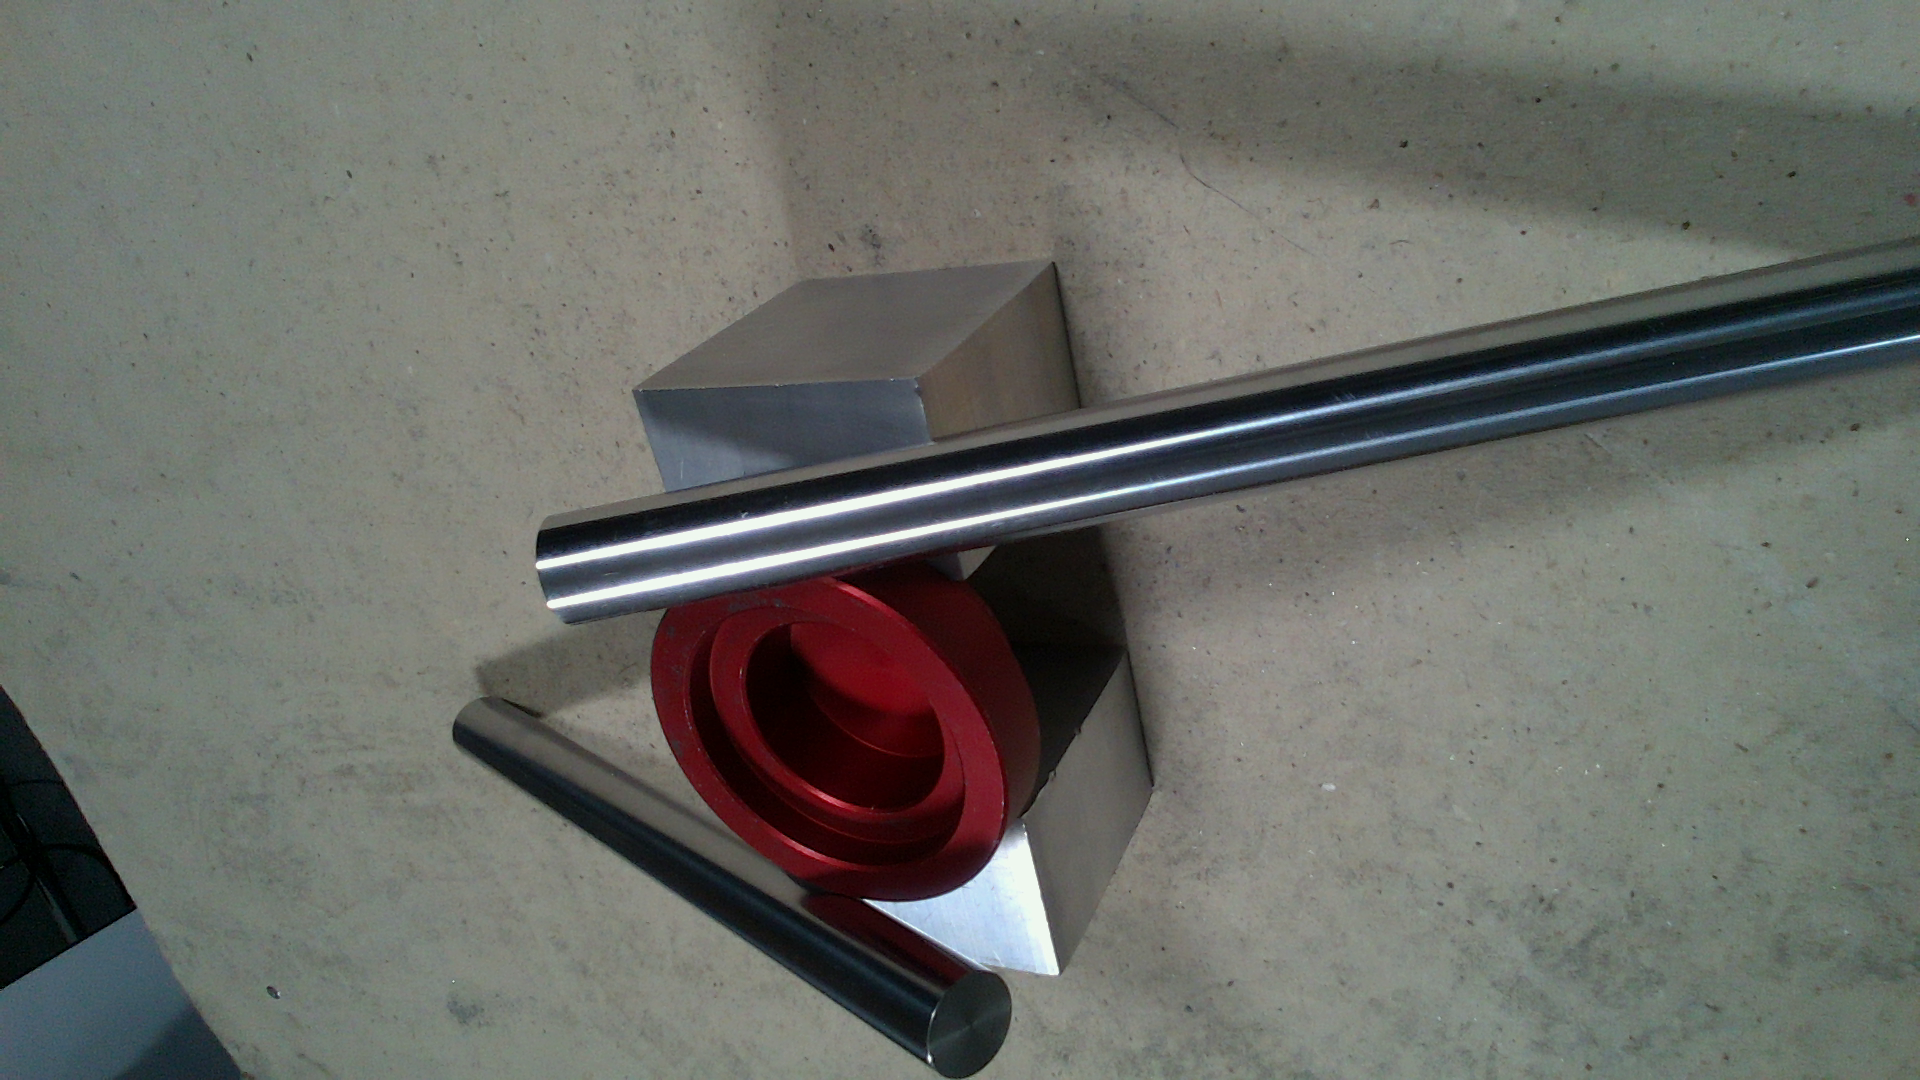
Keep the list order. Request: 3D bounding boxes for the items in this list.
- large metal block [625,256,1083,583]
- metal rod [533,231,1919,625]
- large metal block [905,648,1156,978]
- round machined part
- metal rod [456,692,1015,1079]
[{"bbox_3d":[-0.022,-0.032,0.349,0.080,0.080,0.050,1,119,28],"label":"large metal block"},{"bbox_3d":[0.058,-0.022,0.279,0.300,0.025,0.025,-11,115,9],"label":"metal rod"},{"bbox_3d":[0.003,0.074,0.401,0.080,0.080,0.050,1,119,28],"label":"large metal block"},{"bbox_3d":[-0.025,0.039,0.343,0.098,0.042,0.098,13,124,21],"label":"round machined part"},{"bbox_3d":[-0.091,0.091,0.426,0.299,0.025,0.025,12,127,50],"label":"metal rod"}]
